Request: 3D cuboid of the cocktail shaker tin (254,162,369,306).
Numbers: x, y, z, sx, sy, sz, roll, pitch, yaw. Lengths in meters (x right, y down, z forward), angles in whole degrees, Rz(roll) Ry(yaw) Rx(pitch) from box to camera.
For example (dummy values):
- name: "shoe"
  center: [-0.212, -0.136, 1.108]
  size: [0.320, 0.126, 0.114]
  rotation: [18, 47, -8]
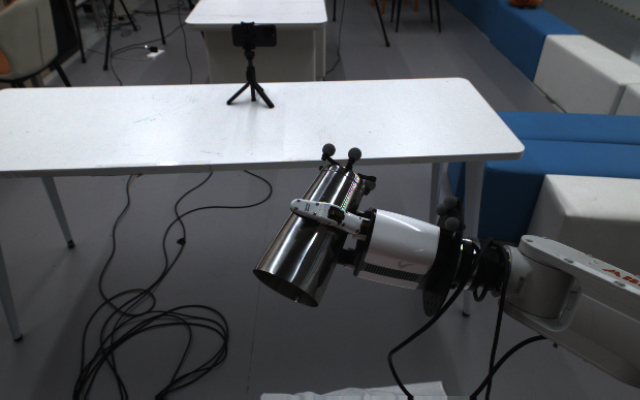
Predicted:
- name: "cocktail shaker tin"
  center: [-0.003, 0.037, 0.624]
  size: [0.093, 0.093, 0.170]
  rotation: [18, 66, 22]
